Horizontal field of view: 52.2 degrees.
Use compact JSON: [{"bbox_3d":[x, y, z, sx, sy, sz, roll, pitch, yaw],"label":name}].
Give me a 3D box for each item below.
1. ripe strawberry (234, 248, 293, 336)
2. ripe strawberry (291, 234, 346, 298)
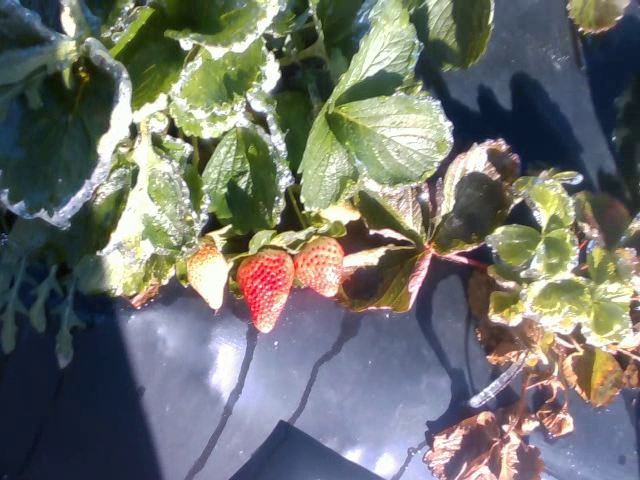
[{"bbox_3d":[-0.031,0.033,0.378,0.036,0.052,0.040,-5,-17,-1],"label":"ripe strawberry"},{"bbox_3d":[0.003,0.017,0.392,0.036,0.041,0.030,-28,14,8],"label":"ripe strawberry"}]
